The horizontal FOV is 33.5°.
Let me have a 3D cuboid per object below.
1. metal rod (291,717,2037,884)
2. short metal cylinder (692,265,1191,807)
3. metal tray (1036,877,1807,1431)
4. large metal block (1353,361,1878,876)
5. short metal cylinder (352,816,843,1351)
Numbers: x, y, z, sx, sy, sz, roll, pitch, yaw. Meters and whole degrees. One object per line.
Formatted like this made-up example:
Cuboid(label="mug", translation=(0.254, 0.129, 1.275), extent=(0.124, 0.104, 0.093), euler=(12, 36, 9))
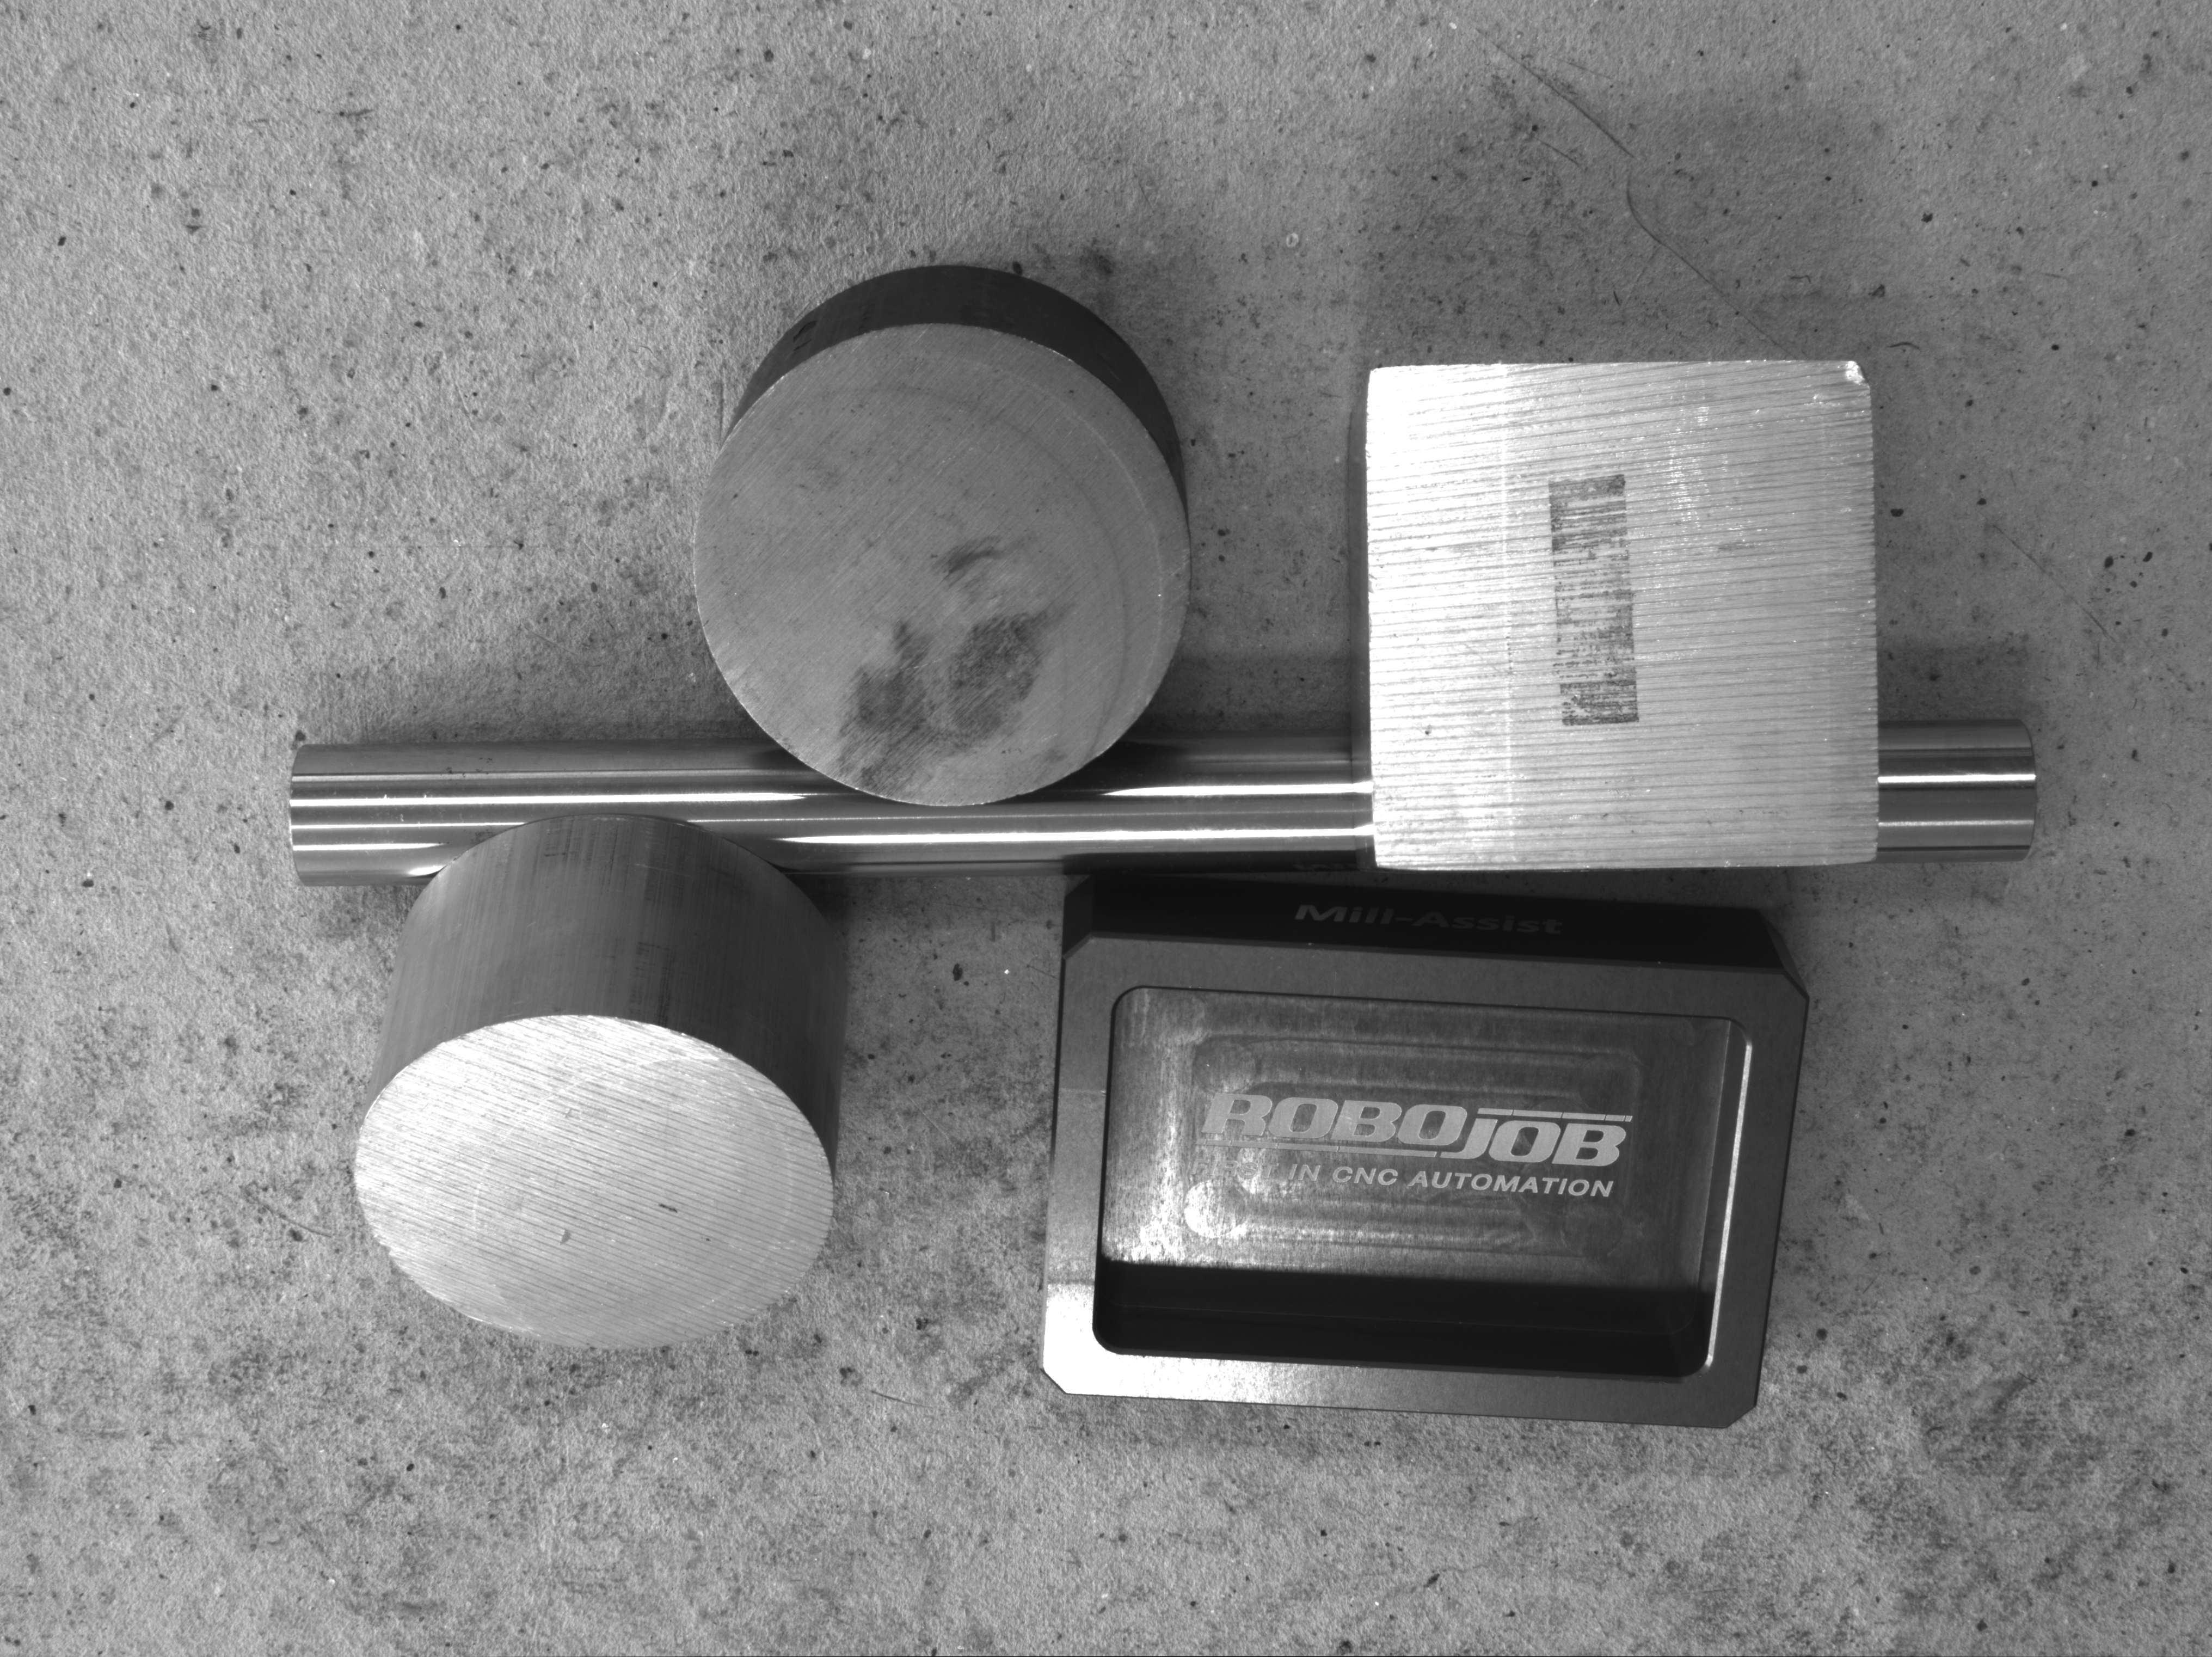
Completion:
Cuboid(label="metal rod", translation=(0.010, -0.005, 0.644), extent=(0.300, 0.025, 0.025), euler=(-1, 110, 0))
Cuboid(label="short metal cylinder", translation=(-0.026, -0.050, 0.613), extent=(0.080, 0.050, 0.080), euler=(0, 109, 0))
Cuboid(label="metal tray", translation=(0.055, 0.059, 0.662), extent=(0.130, 0.030, 0.090), euler=(3, 110, -1))
Cuboid(label="large metal block", translation=(0.082, -0.033, 0.606), extent=(0.080, 0.050, 0.080), euler=(-1, 89, 0))
Cuboid(label="short metal cylinder", translation=(-0.086, 0.045, 0.634), extent=(0.080, 0.050, 0.080), euler=(-1, 131, 0))
